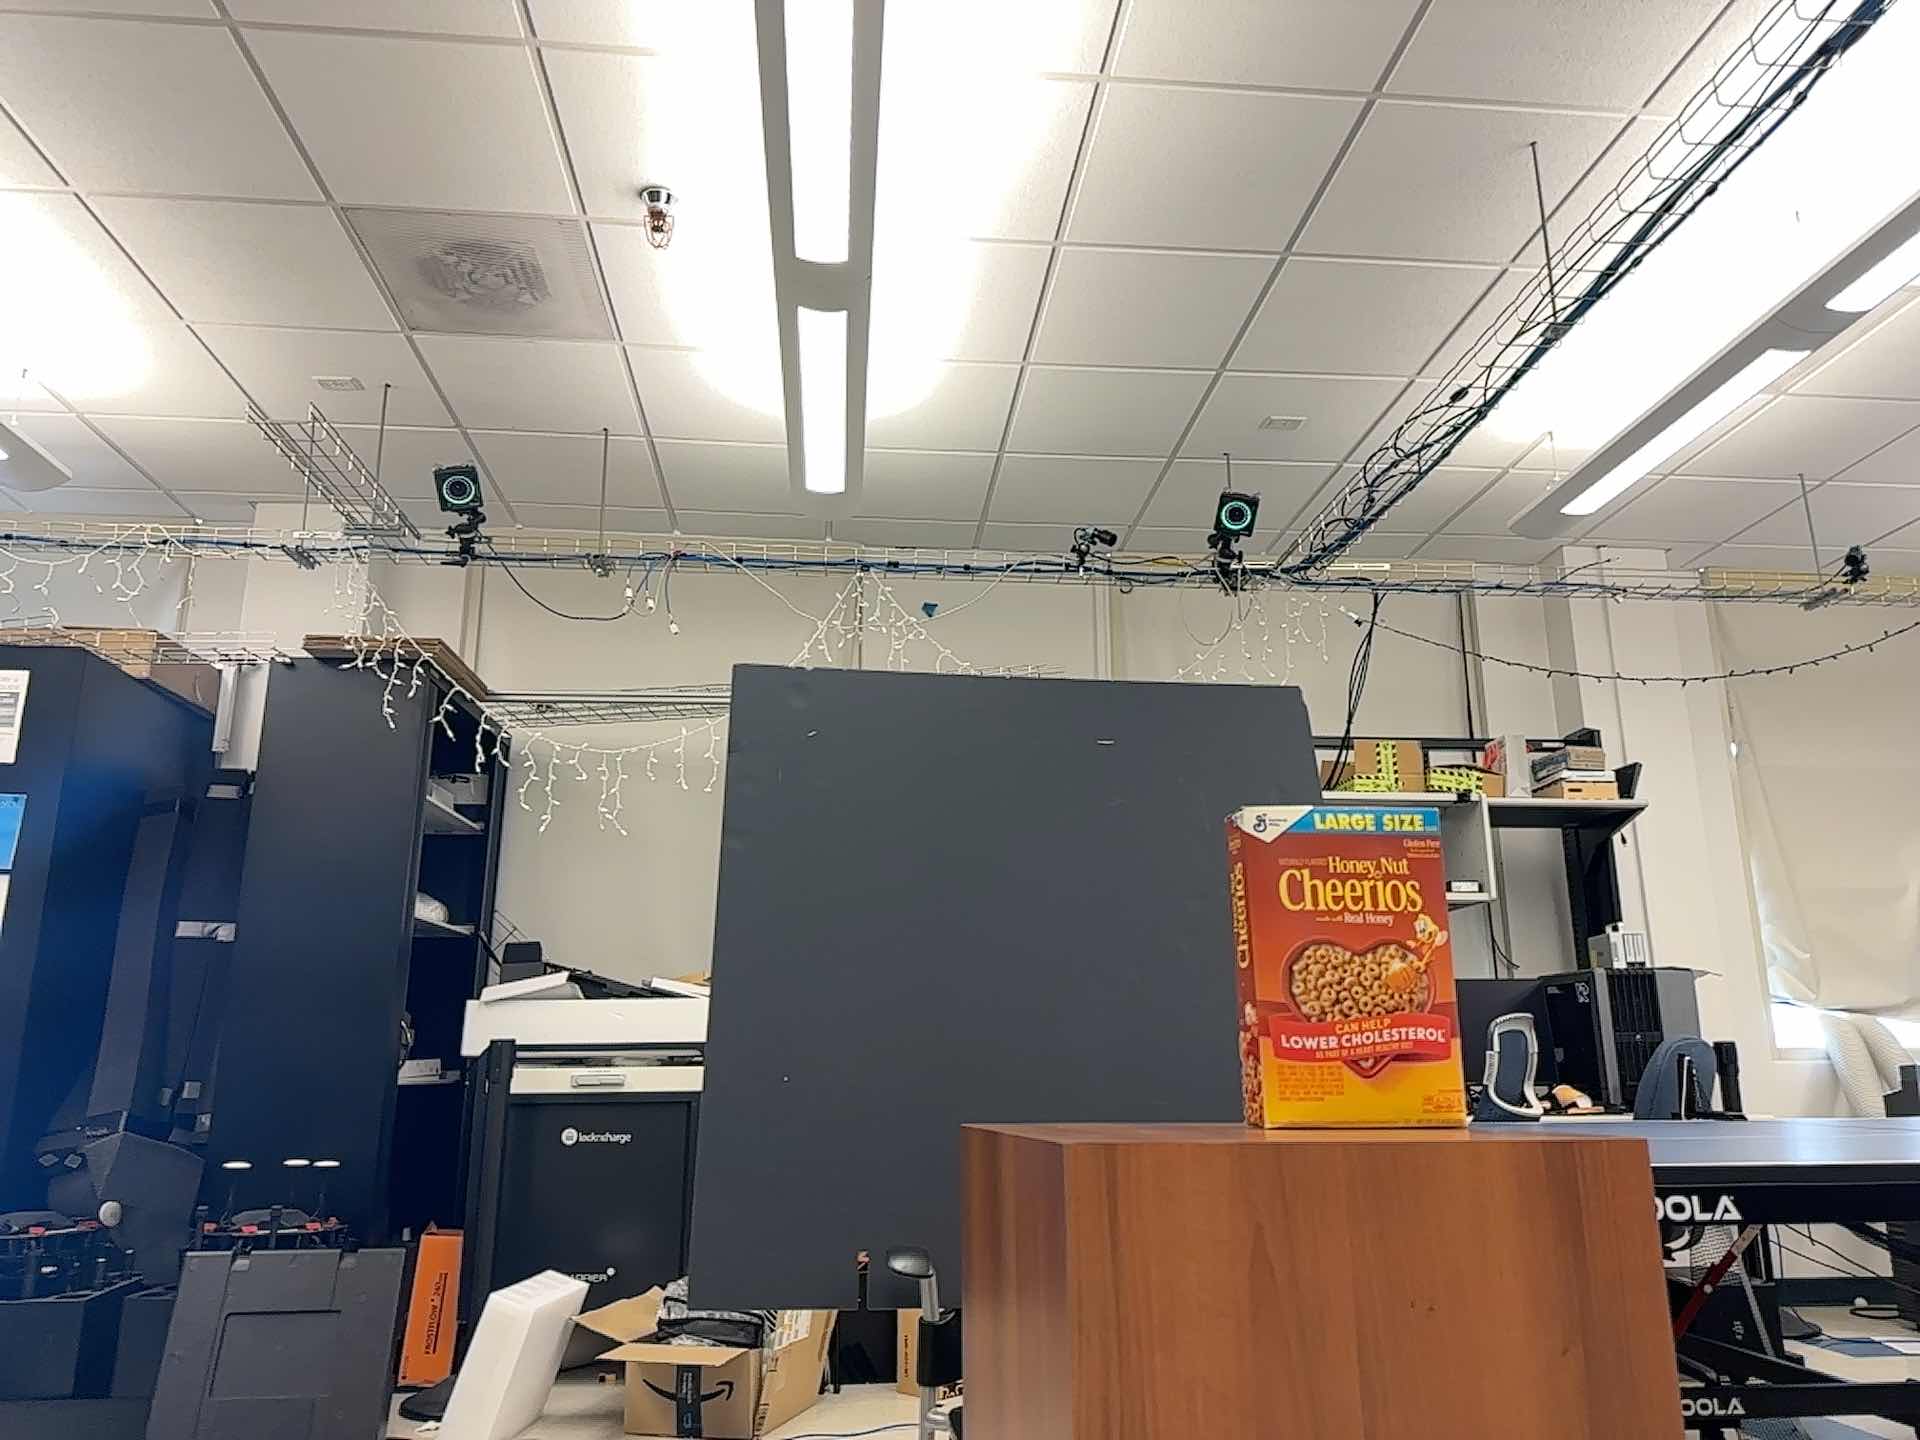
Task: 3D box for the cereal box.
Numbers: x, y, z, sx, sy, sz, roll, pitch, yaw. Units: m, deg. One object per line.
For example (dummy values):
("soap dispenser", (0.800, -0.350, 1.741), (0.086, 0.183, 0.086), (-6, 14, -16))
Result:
("cereal box", (0.377, 0.242, 1.332), (0.195, 0.297, 0.065), (0, -12, 1))
